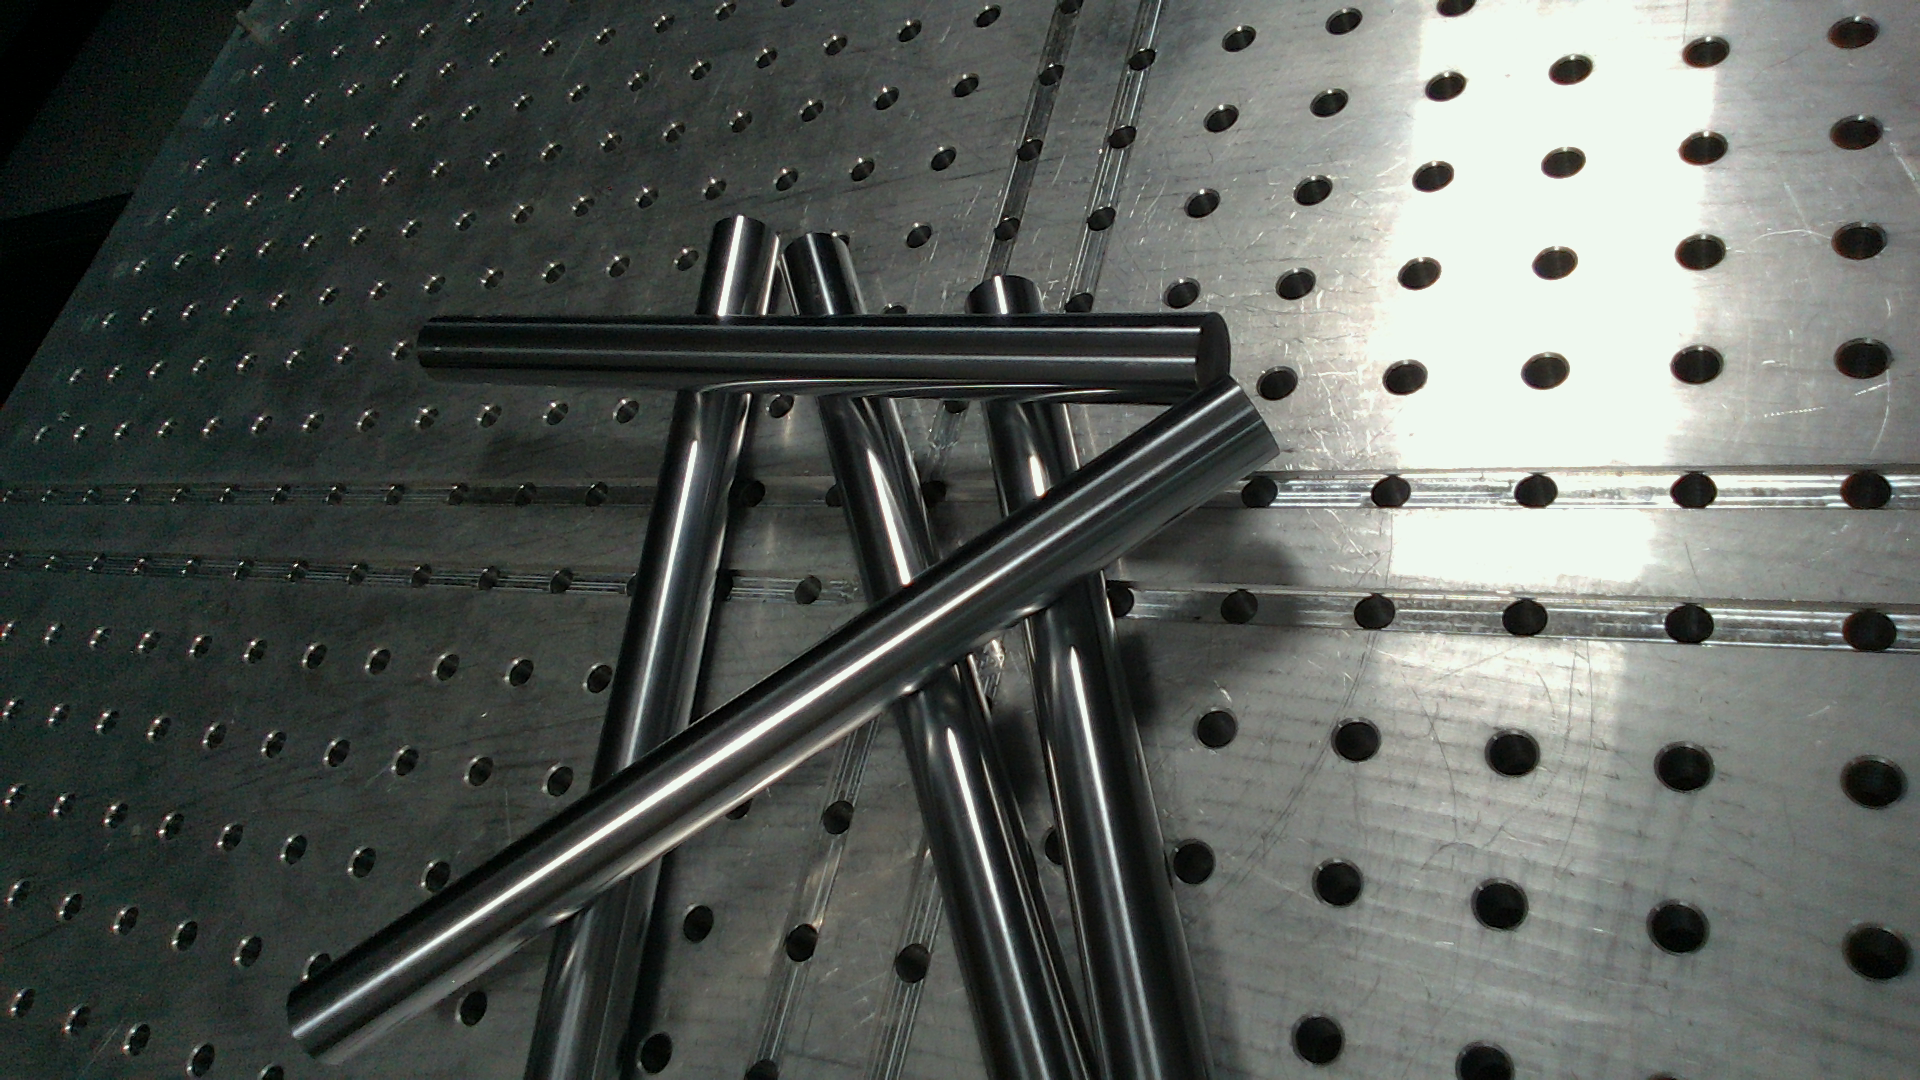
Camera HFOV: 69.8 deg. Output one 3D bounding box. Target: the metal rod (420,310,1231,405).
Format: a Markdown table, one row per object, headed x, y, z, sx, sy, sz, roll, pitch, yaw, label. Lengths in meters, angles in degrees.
| x | y | z | sx | sy | sz | roll | pitch | yaw | label |
| --- | --- | --- | --- | --- | --- | --- | --- | --- | --- |
| -0.062 | -0.058 | 0.434 | 0.299 | 0.025 | 0.025 | 5 | 64 | 31 | metal rod |

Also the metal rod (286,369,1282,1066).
| x | y | z | sx | sy | sz | roll | pitch | yaw | label |
| --- | --- | --- | --- | --- | --- | --- | --- | --- | --- |
| -0.050 | 0.050 | 0.360 | 0.300 | 0.025 | 0.025 | -34 | 51 | 6 | metal rod |

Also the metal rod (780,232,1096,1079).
| x | y | z | sx | sy | sz | roll | pitch | yaw | label |
| --- | --- | --- | --- | --- | --- | --- | --- | --- | --- |
| -0.015 | 0.015 | 0.395 | 0.025 | 0.025 | 0.300 | -27 | 52 | 12 | metal rod |

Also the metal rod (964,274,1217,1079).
| x | y | z | sx | sy | sz | roll | pitch | yaw | label |
| --- | --- | --- | --- | --- | --- | --- | --- | --- | --- |
| 0.032 | 0.047 | 0.350 | 0.025 | 0.025 | 0.300 | -21 | 53 | 16 | metal rod |

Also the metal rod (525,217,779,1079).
| x | y | z | sx | sy | sz | roll | pitch | yaw | label |
| --- | --- | --- | --- | --- | --- | --- | --- | --- | --- |
| -0.091 | 0.019 | 0.433 | 0.025 | 0.025 | 0.300 | -9 | 57 | 24 | metal rod |
